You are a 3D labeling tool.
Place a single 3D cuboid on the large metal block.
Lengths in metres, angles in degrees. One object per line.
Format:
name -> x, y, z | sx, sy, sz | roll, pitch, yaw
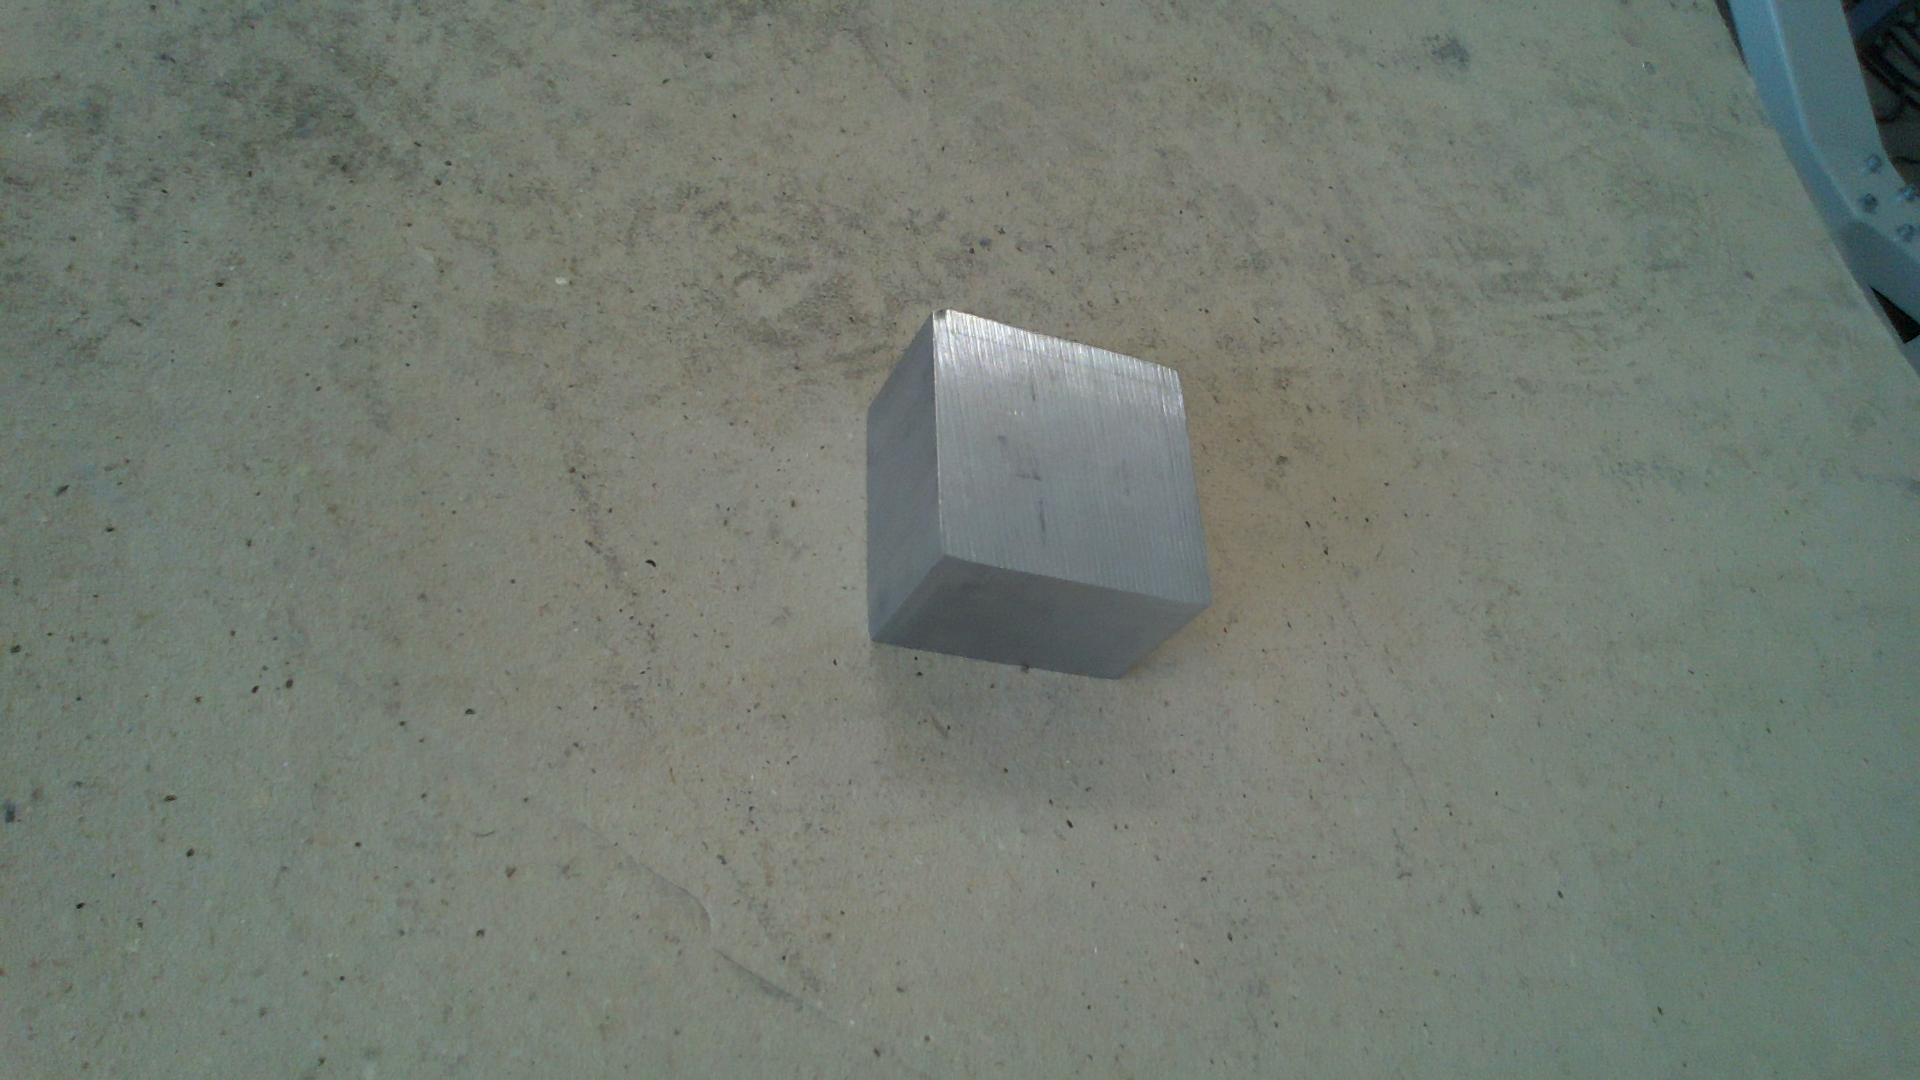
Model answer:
large metal block -> 0.019, -0.012, 0.391 | 0.080, 0.050, 0.080 | 12, 57, -23
